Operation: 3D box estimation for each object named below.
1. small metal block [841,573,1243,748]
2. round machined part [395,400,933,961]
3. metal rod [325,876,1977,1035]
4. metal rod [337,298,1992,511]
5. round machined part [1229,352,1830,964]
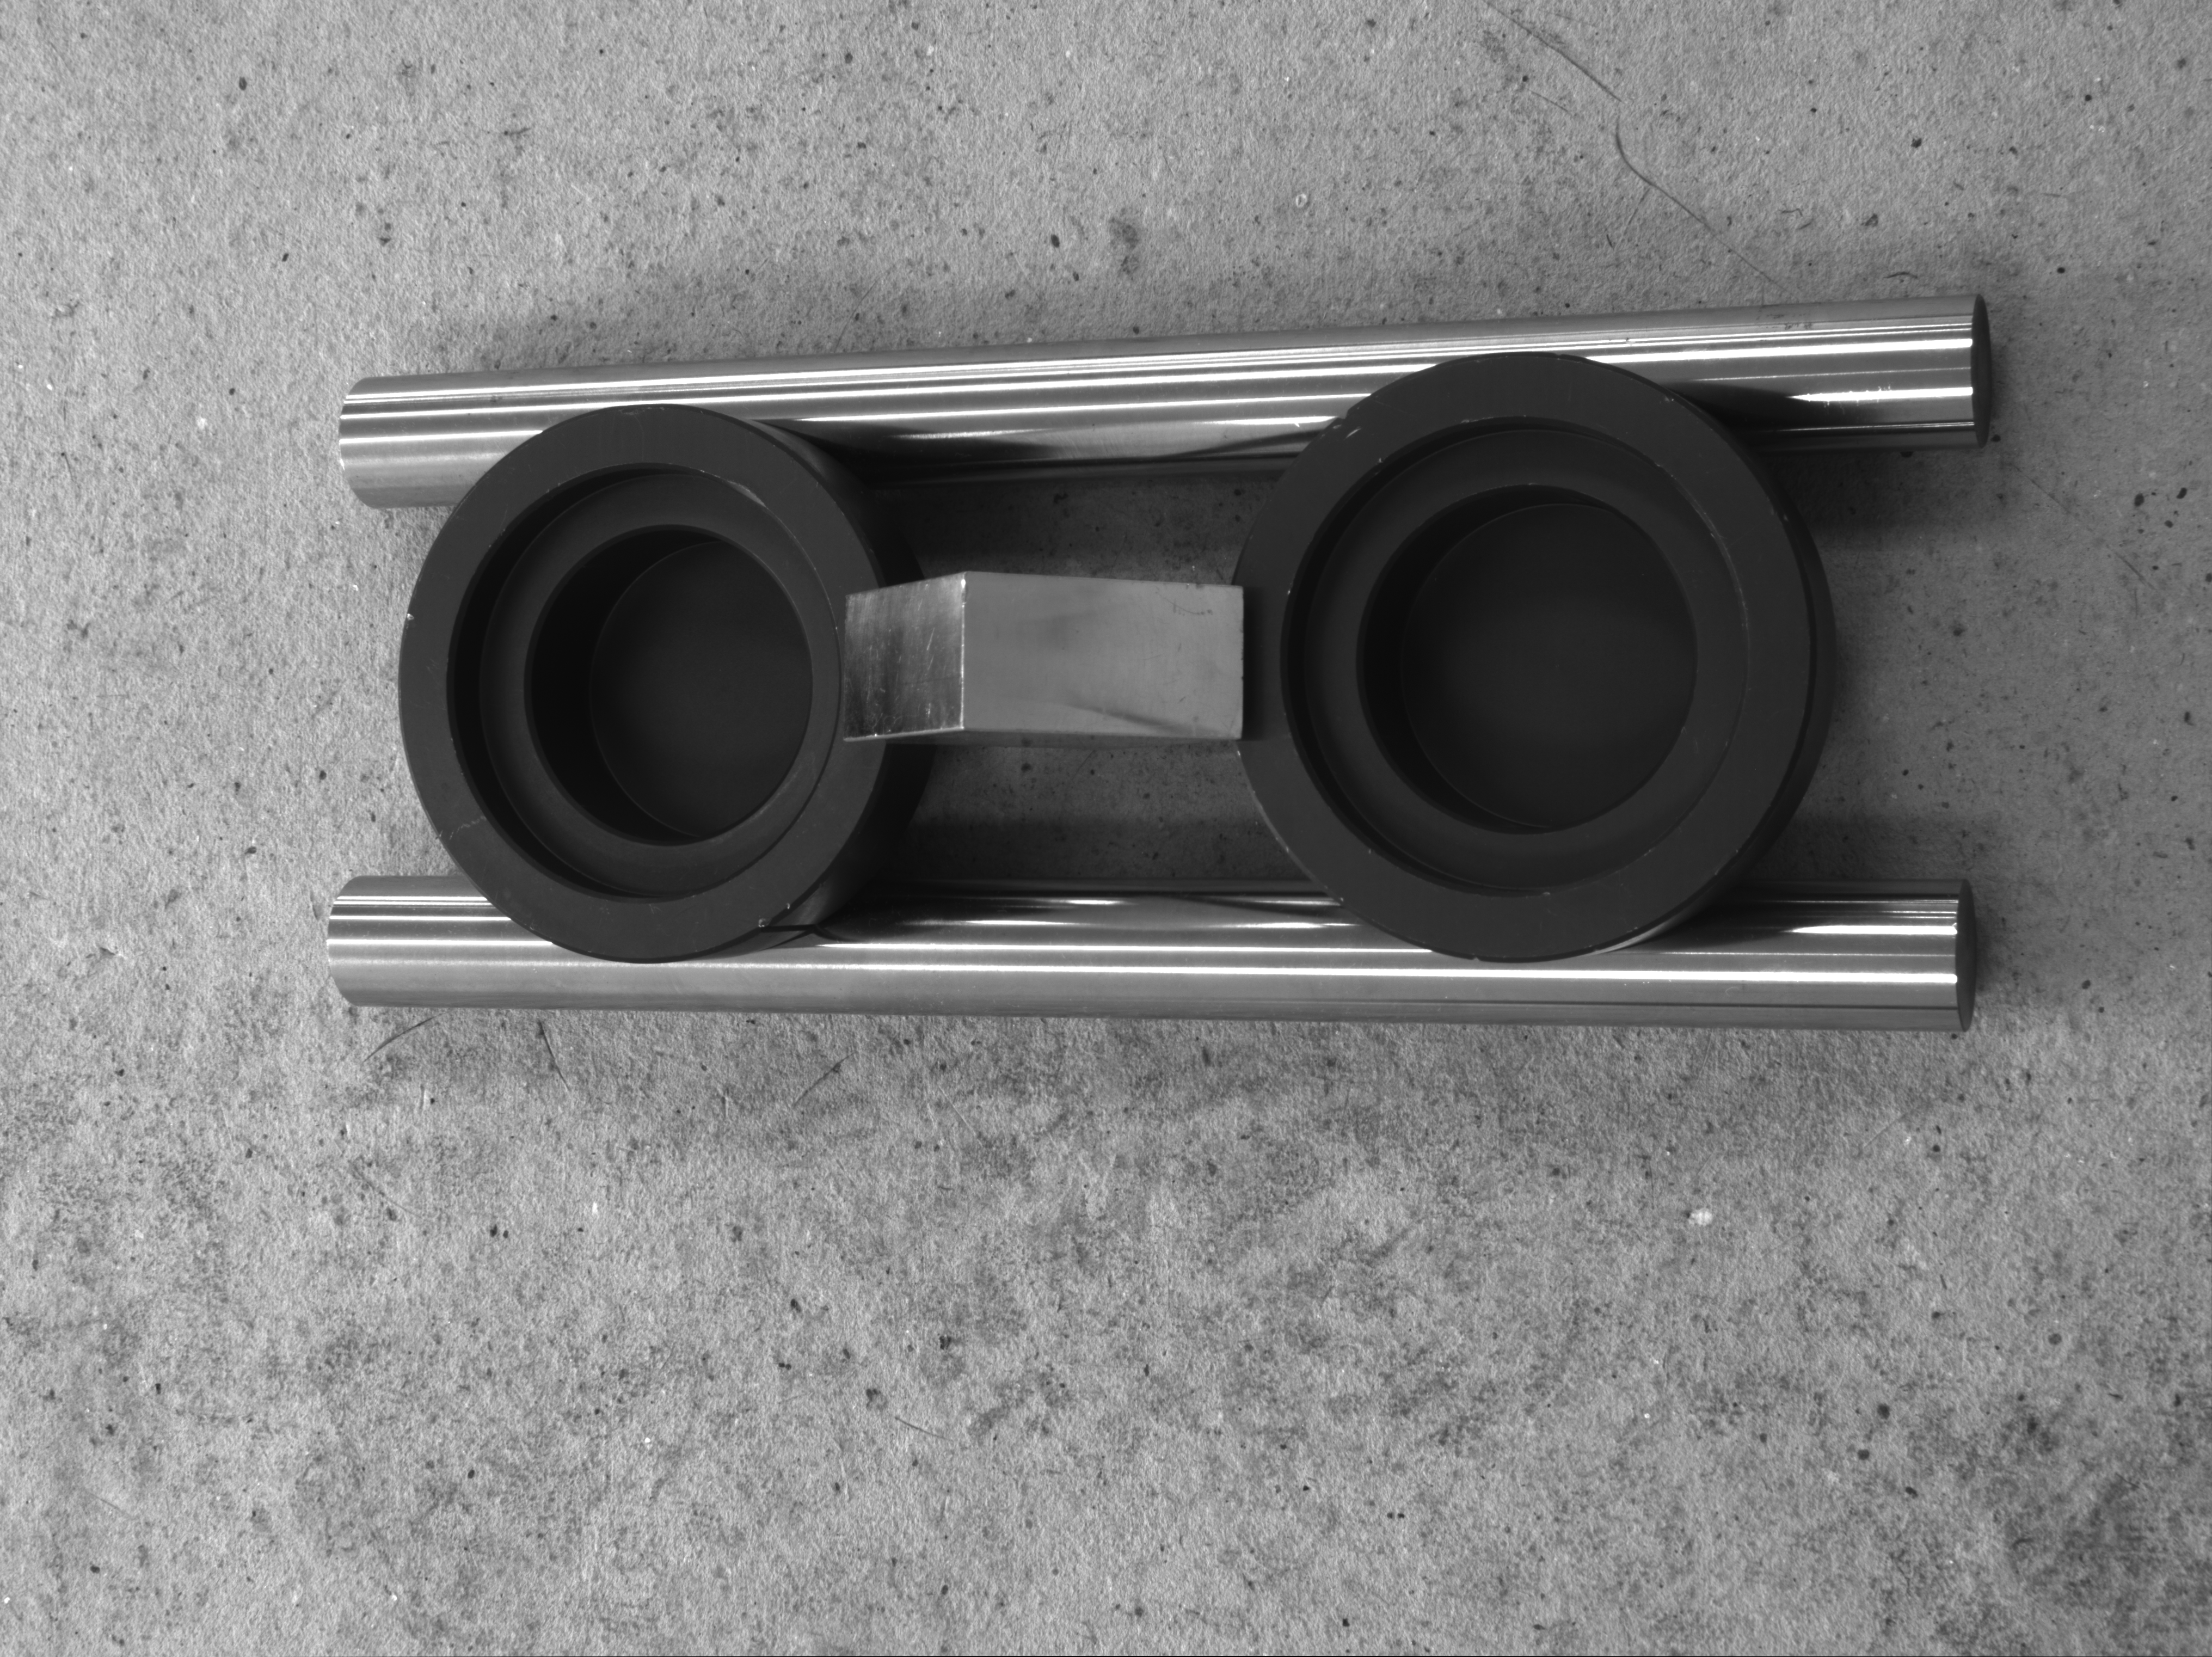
[{"bbox_3d":[-0.011,-0.027,0.610,0.050,0.050,0.025,-1,88,63],"label":"small metal block"},{"bbox_3d":[-0.075,-0.026,0.661,0.098,0.042,0.098,0,90,20],"label":"round machined part"},{"bbox_3d":[-0.001,0.021,0.647,0.299,0.025,0.025,0,90,20],"label":"metal rod"},{"bbox_3d":[0.001,-0.073,0.646,0.299,0.025,0.025,0,90,20],"label":"metal rod"},{"bbox_3d":[0.071,-0.027,0.607,0.098,0.042,0.098,0,90,20],"label":"round machined part"}]
